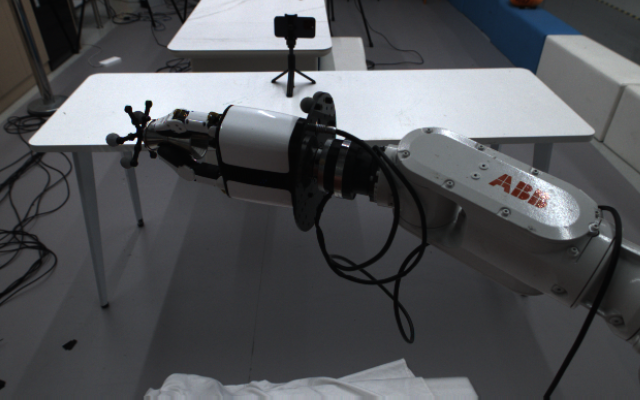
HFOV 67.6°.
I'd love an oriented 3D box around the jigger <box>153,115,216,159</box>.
[{"bbox_3d":[-0.175,-0.081,0.605,0.071,0.043,0.043,10,35,16],"label":"jigger"}]
